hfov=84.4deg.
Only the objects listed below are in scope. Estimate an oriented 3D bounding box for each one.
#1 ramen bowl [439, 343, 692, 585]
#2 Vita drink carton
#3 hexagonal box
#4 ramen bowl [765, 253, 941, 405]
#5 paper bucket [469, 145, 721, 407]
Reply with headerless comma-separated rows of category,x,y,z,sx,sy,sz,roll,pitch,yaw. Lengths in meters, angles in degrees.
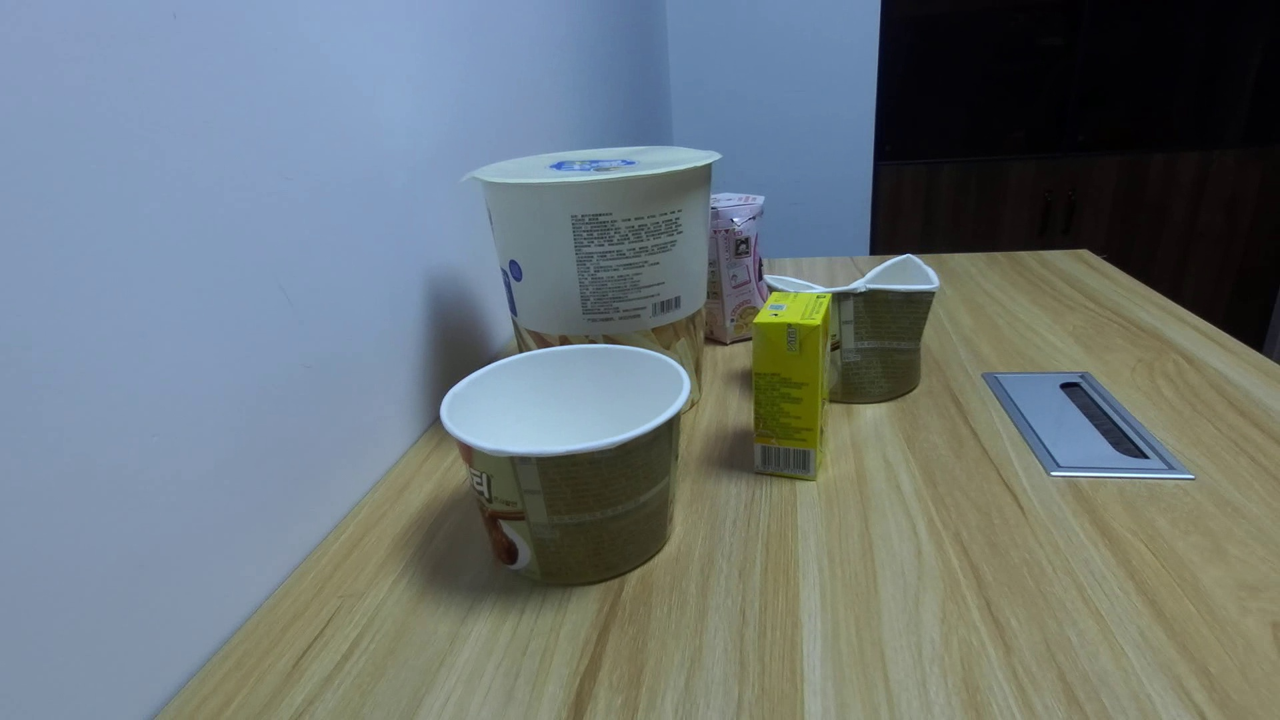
ramen bowl,-0.037,0.059,0.415,0.140,0.095,0.140,-3,23,1
Vita drink carton,0.102,0.015,0.468,0.043,0.109,0.067,4,24,21
hexagonal box,0.083,-0.089,0.699,0.091,0.134,0.089,-19,22,-35
ramen bowl,0.169,-0.029,0.584,0.128,0.093,0.111,-2,23,4
paper bucket,-0.025,-0.060,0.569,0.198,0.195,0.198,-4,21,2
